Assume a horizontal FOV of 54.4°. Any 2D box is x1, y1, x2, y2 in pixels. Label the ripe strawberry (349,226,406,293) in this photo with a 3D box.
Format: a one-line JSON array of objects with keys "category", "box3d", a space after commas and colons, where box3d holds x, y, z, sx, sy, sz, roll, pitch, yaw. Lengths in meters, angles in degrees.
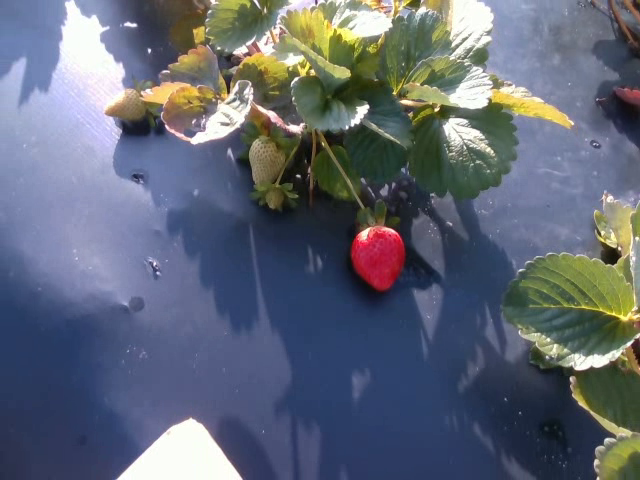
[{"category": "ripe strawberry", "box3d": [0.033, 0.012, 0.326, 0.030, 0.045, 0.033, -16, -37, 28]}]
